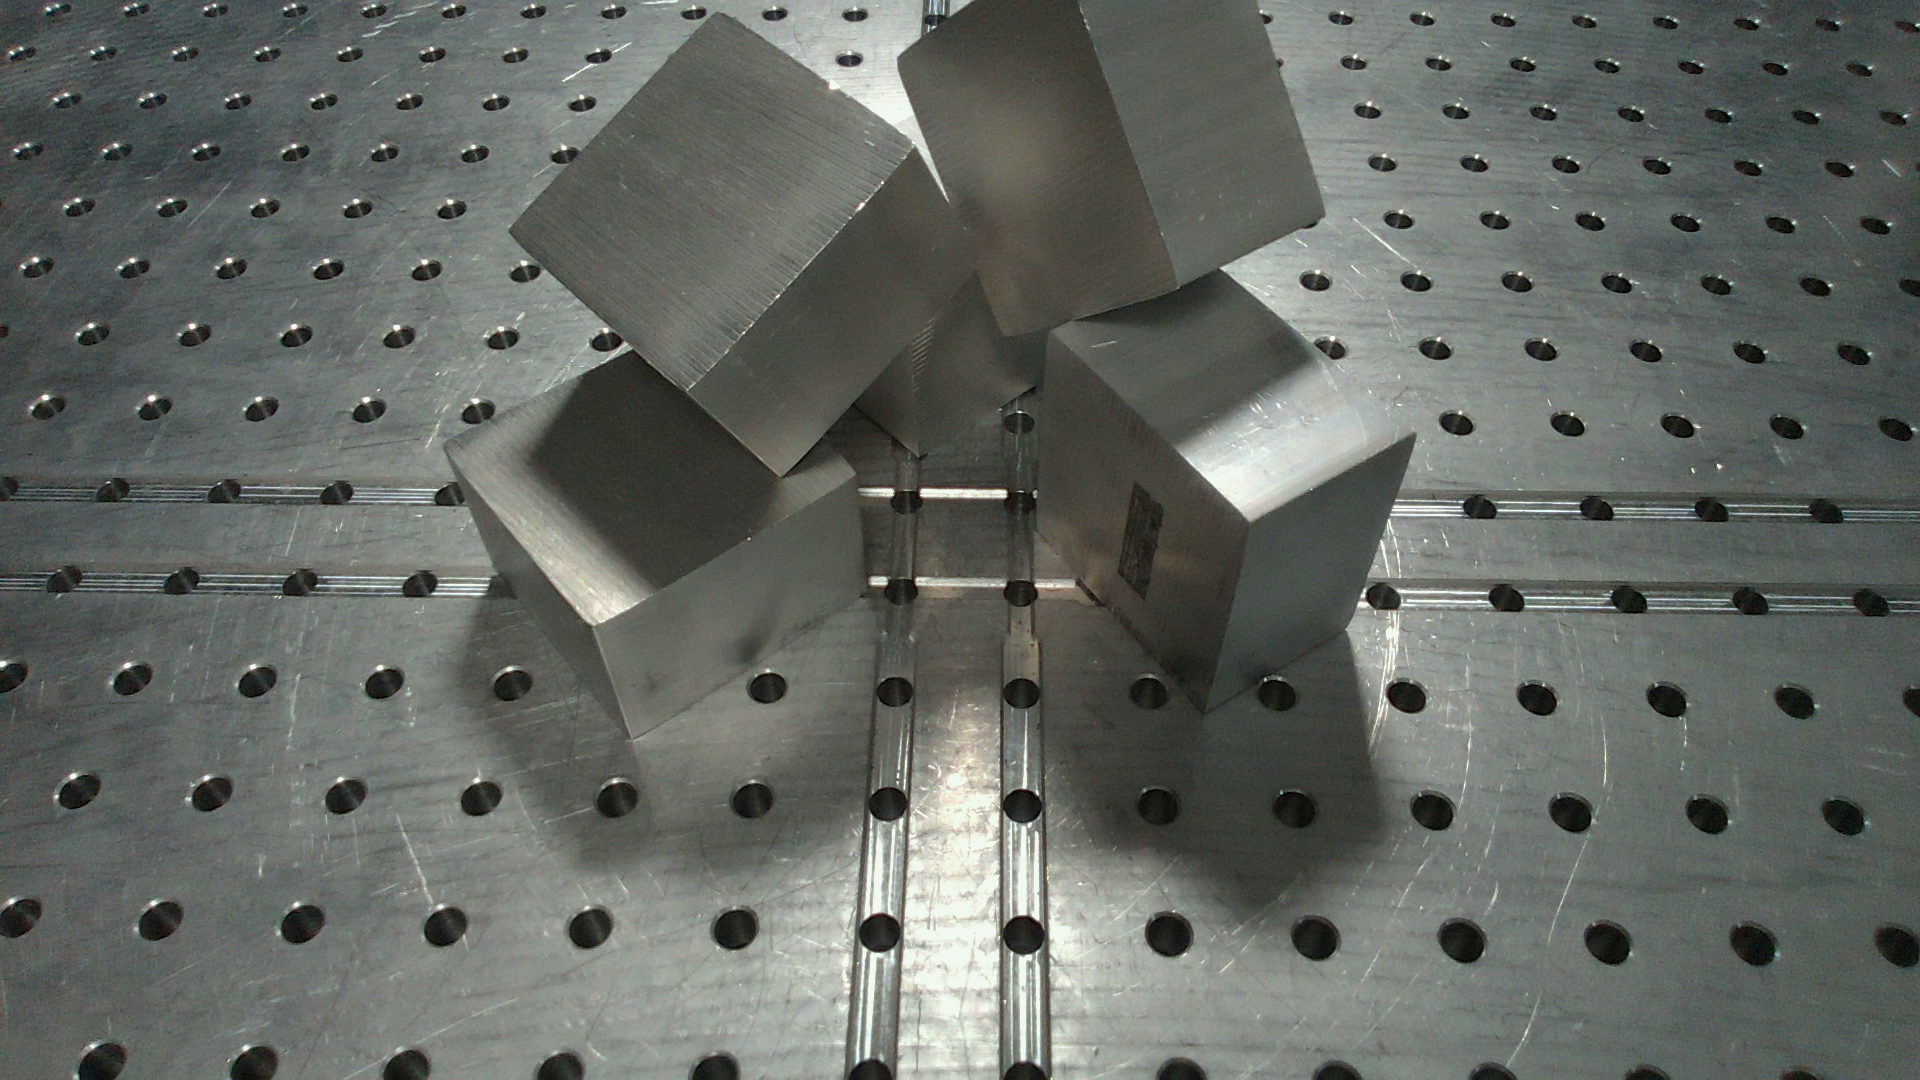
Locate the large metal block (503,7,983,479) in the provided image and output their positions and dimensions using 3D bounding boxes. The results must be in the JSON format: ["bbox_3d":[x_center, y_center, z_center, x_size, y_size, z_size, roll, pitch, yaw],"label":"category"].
[{"bbox_3d":[-0.056,-0.077,0.358,0.080,0.050,0.080,40,86,29],"label":"large metal block"}]

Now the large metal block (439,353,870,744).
[{"bbox_3d":[-0.082,-0.005,0.382,0.080,0.050,0.080,-32,57,-24],"label":"large metal block"}]

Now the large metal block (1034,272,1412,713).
[{"bbox_3d":[0.065,-0.015,0.370,0.050,0.080,0.080,-27,55,-21],"label":"large metal block"}]

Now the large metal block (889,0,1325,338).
[{"bbox_3d":[0.035,-0.104,0.354,0.050,0.080,0.080,-29,13,-27],"label":"large metal block"}]

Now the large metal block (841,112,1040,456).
[{"bbox_3d":[-0.002,-0.087,0.430,0.080,0.080,0.050,-34,58,-25],"label":"large metal block"}]
